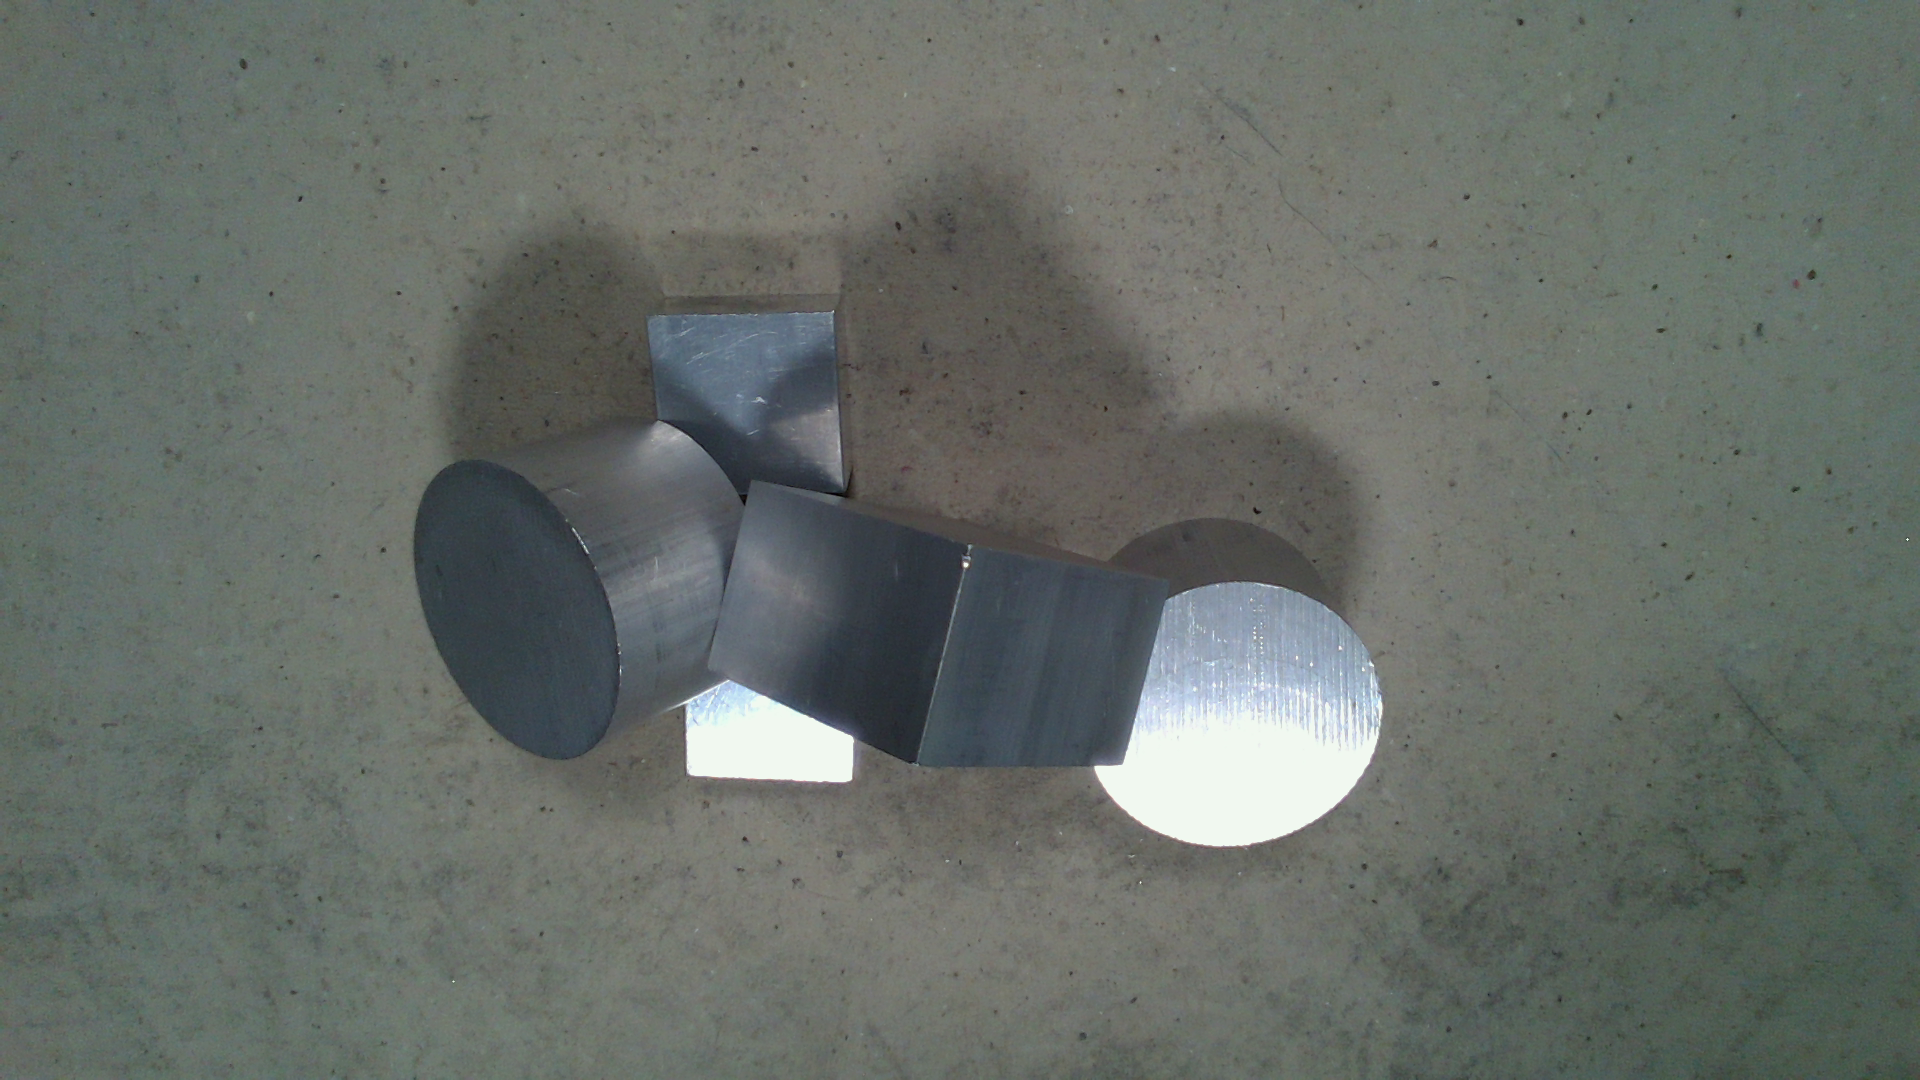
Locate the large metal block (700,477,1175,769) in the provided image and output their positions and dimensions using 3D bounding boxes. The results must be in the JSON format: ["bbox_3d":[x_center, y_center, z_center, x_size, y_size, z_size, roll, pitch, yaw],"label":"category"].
[{"bbox_3d":[-0.005,0.021,0.353,0.080,0.080,0.050,10,95,-48],"label":"large metal block"}]

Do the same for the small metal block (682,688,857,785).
[{"bbox_3d":[-0.055,0.044,0.410,0.050,0.025,0.050,2,110,-1],"label":"small metal block"}]

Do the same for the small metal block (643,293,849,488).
[{"bbox_3d":[-0.057,-0.040,0.379,0.050,0.025,0.050,-1,110,0],"label":"small metal block"}]

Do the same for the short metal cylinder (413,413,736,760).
[{"bbox_3d":[-0.099,0.011,0.365,0.080,0.050,0.080,14,115,33],"label":"short metal cylinder"}]

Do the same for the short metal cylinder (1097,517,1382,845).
[{"bbox_3d":[0.074,0.039,0.396,0.080,0.050,0.080,0,110,0],"label":"short metal cylinder"}]
